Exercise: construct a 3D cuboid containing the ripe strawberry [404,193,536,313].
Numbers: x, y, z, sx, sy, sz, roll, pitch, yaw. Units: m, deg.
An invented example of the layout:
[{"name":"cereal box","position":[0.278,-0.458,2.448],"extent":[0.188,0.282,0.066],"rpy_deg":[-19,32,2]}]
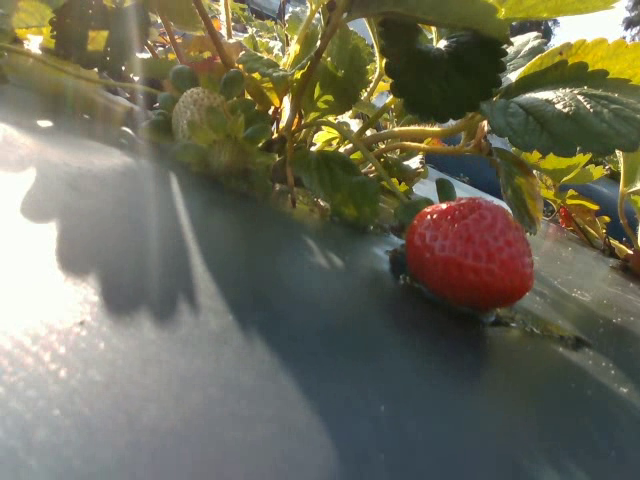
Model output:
[{"name":"ripe strawberry","position":[0.037,0.005,0.136],"extent":[0.030,0.033,0.045],"rpy_deg":[-22,19,-2]}]
